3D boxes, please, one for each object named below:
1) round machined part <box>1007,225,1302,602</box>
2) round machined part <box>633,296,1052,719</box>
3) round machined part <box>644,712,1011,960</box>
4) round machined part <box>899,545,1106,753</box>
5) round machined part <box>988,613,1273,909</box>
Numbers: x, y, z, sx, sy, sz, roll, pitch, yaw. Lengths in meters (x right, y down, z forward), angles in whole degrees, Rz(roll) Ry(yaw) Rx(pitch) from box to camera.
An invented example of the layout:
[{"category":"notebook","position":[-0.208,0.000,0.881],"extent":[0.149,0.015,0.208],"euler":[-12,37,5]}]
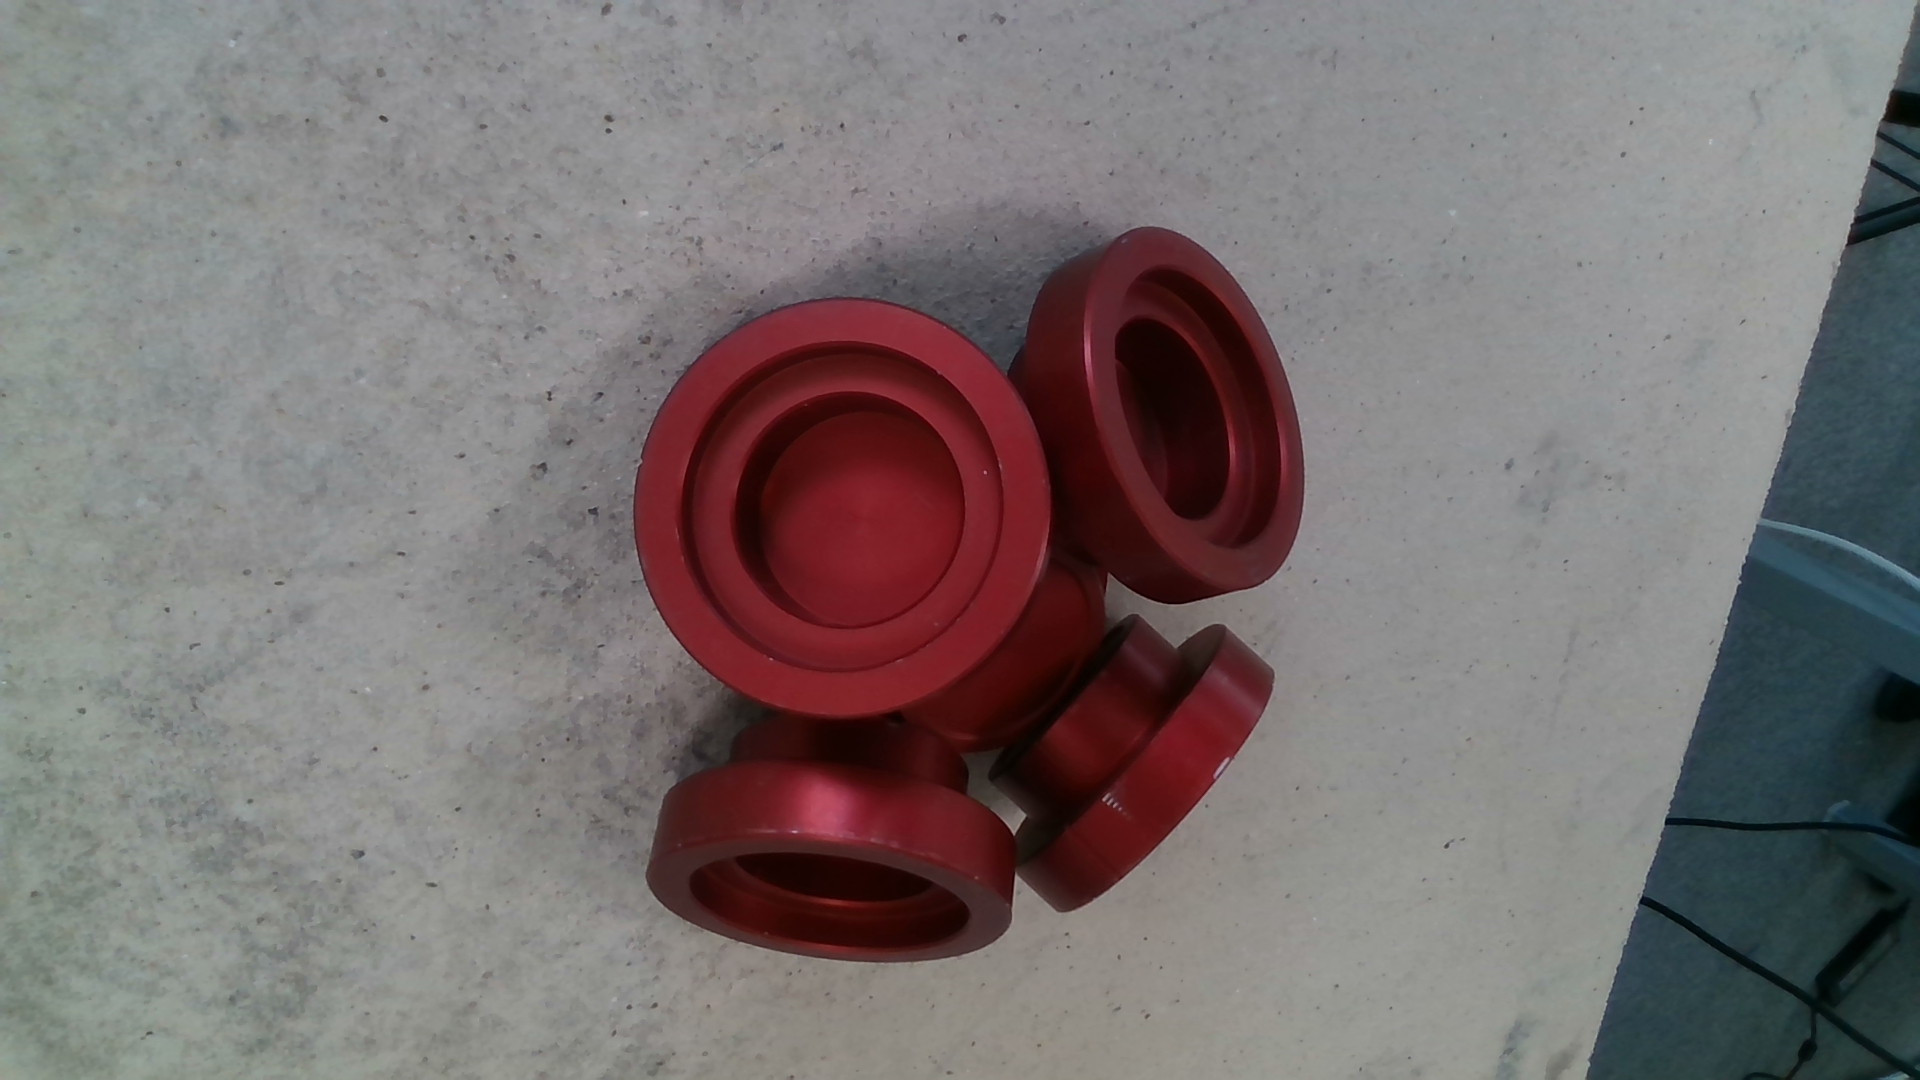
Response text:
[{"category":"round machined part","position":[0.049,-0.031,0.372],"extent":[0.098,0.042,0.098],"euler":[19,63,-43]},{"category":"round machined part","position":[-0.026,-0.007,0.337],"extent":[0.098,0.098,0.042],"euler":[-50,173,1]},{"category":"round machined part","position":[-0.034,0.080,0.381],"extent":[0.098,0.042,0.098],"euler":[4,146,3]},{"category":"round machined part","position":[0.002,0.021,0.391],"extent":[0.098,0.042,0.098],"euler":[-16,123,-26]},{"category":"round machined part","position":[0.046,0.060,0.417],"extent":[0.042,0.098,0.098],"euler":[42,89,1]}]
